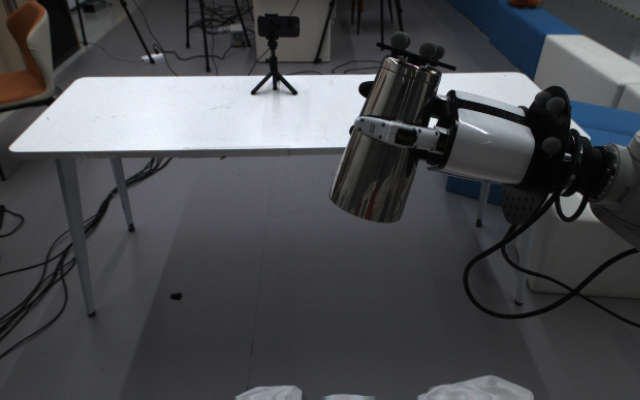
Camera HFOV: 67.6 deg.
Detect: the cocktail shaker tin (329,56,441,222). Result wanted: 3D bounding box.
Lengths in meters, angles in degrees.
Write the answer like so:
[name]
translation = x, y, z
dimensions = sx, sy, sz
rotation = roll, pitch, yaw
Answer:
[cocktail shaker tin]
translation = 0.079, -0.071, 0.552
dimensions = 0.093, 0.170, 0.093
rotation = 15, 22, -6
